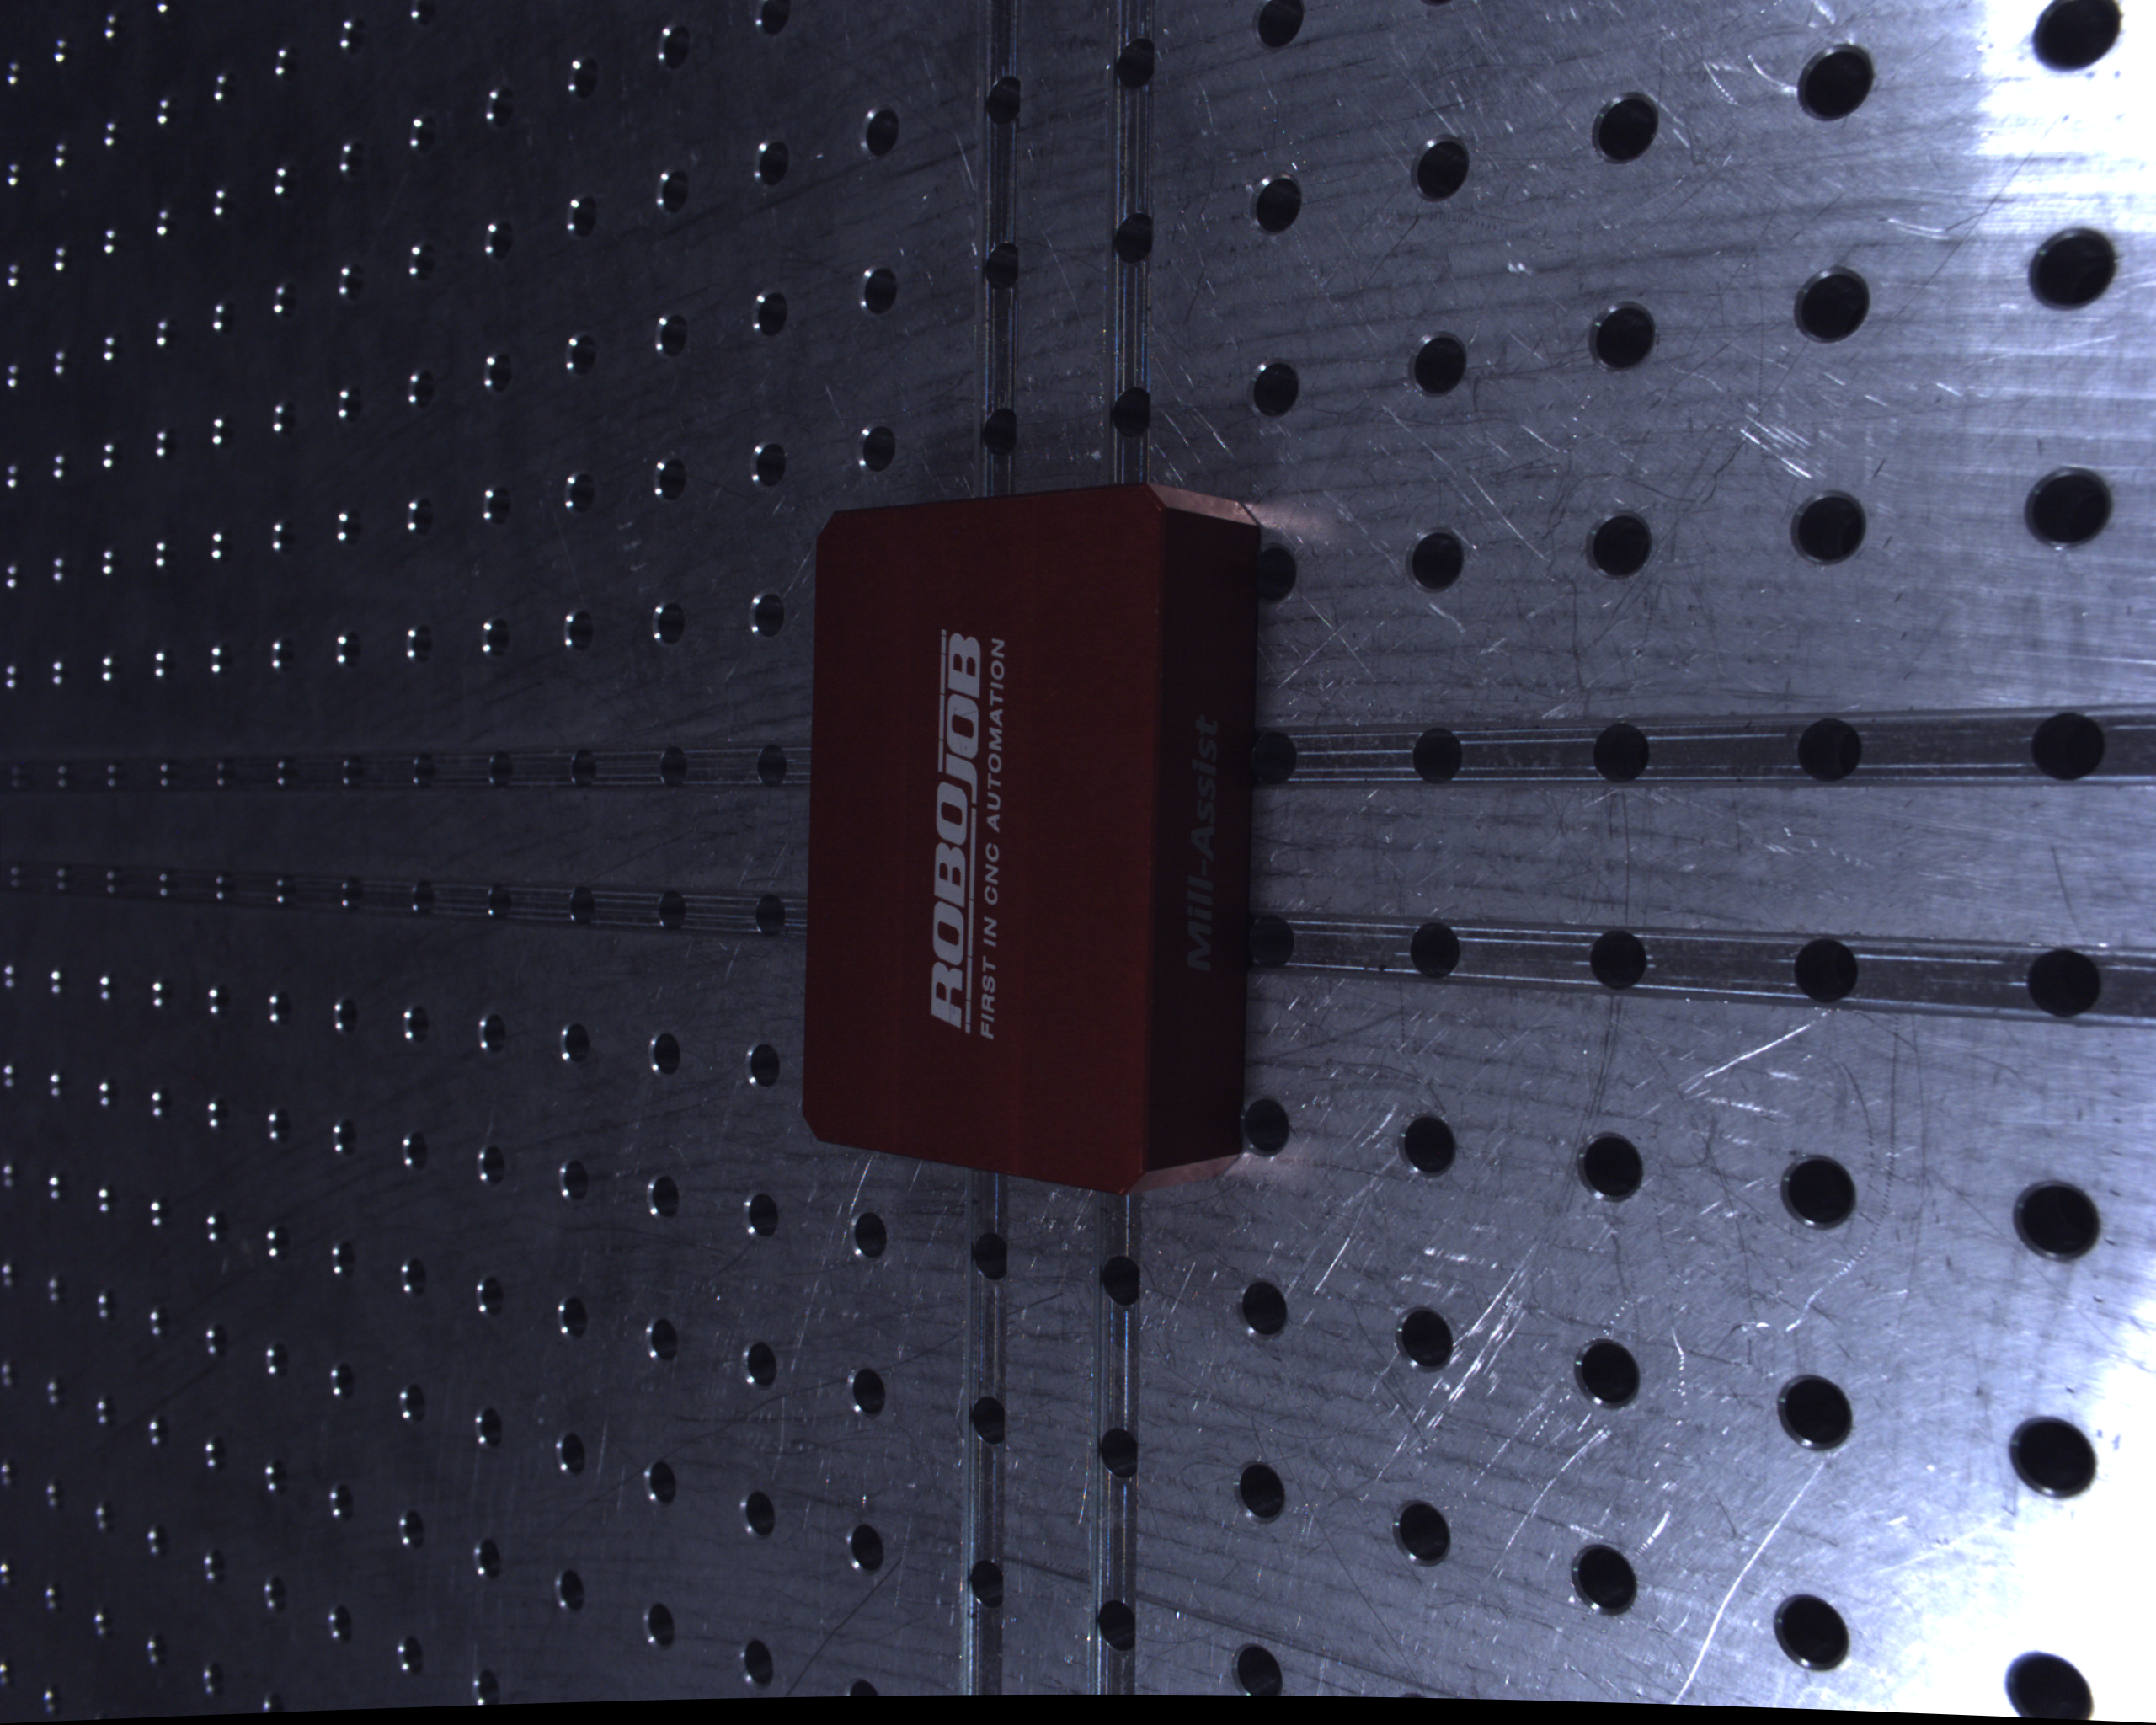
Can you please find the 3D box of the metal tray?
[{"bbox_3d":[-0.012,-0.006,0.413,0.090,0.030,0.129,3,92,39],"label":"metal tray"}]
